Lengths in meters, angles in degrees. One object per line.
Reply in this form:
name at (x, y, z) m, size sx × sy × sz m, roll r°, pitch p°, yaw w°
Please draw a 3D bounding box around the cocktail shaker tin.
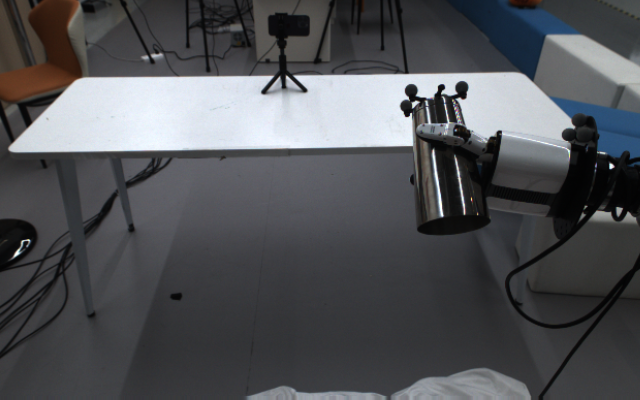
cocktail shaker tin at (0.166, -0.047, 0.643) m, size 0.093 × 0.093 × 0.170 m, roll -2°, pitch 71°, yaw -6°
